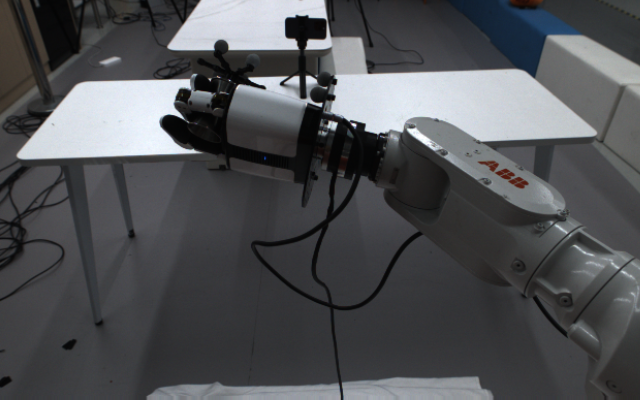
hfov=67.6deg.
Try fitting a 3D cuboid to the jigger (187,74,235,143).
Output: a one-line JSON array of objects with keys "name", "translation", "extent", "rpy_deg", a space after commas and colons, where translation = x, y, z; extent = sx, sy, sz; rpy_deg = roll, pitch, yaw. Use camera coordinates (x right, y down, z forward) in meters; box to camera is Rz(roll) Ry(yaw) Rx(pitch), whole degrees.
[{"name": "jigger", "translation": [-0.128, -0.111, 0.581], "extent": [0.043, 0.043, 0.071], "rpy_deg": [15, 70, 17]}]
